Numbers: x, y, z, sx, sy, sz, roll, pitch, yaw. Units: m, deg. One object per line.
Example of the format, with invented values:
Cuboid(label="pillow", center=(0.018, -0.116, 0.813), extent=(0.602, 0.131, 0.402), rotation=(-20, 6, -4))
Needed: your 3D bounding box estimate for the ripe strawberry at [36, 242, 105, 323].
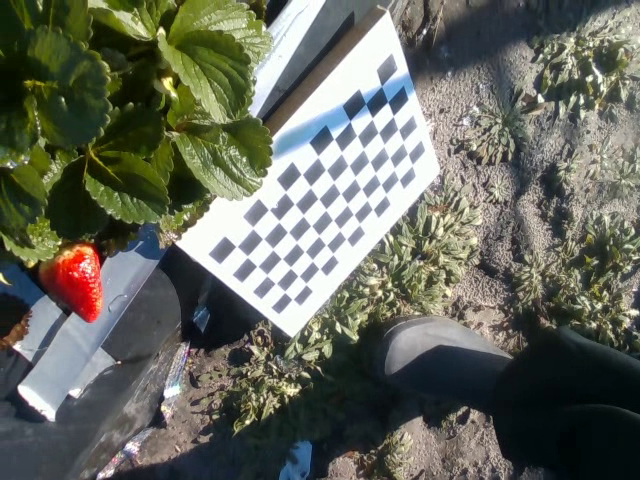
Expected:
Cuboid(label="ripe strawberry", center=(-0.205, 0.039, 0.538), extent=(0.061, 0.065, 0.057), rotation=(-29, 7, -34))
